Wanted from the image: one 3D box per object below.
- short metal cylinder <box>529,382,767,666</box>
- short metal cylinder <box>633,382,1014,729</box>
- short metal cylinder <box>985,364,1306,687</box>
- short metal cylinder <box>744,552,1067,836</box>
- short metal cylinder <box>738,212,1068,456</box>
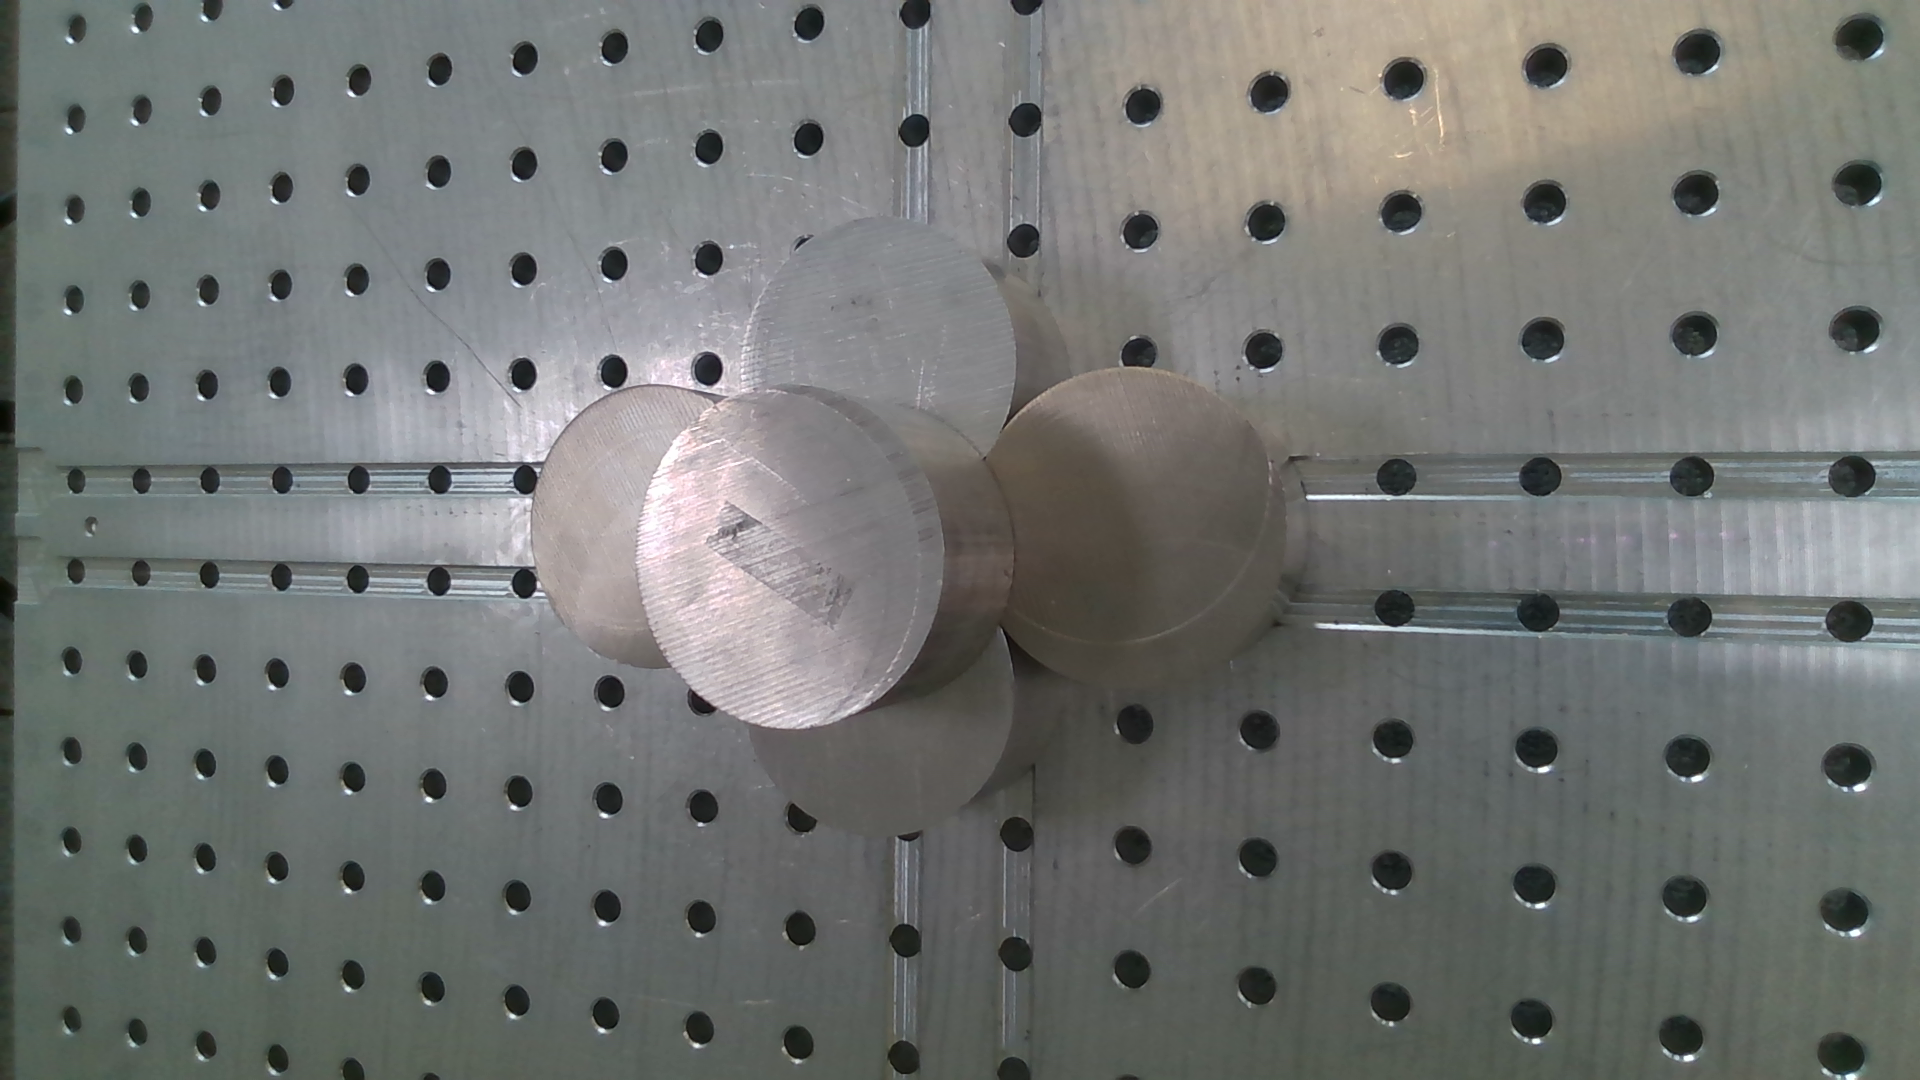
[{"bbox_3d":[-0.079,-0.005,0.411,0.080,0.050,0.080,0,91,18],"label":"short metal cylinder"},{"bbox_3d":[-0.032,0.004,0.341,0.080,0.050,0.080,0,90,20],"label":"short metal cylinder"},{"bbox_3d":[0.049,-0.004,0.365,0.080,0.050,0.080,0,91,20],"label":"short metal cylinder"},{"bbox_3d":[-0.015,0.038,0.388,0.080,0.050,0.080,0,90,20],"label":"short metal cylinder"},{"bbox_3d":[-0.015,-0.047,0.388,0.080,0.050,0.080,0,90,20],"label":"short metal cylinder"}]
